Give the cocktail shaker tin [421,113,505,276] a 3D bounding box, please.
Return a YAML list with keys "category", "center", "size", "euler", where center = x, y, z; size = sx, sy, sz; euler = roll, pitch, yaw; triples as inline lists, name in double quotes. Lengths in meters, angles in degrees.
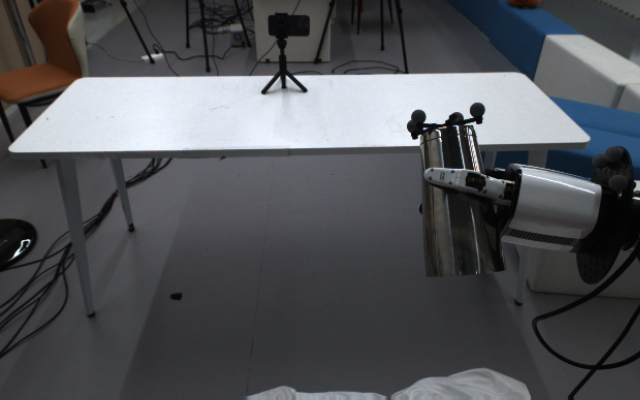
- category: "cocktail shaker tin"
  center: [0.164, 0.002, 0.581]
  size: [0.093, 0.170, 0.093]
  euler: [-6, -7, -1]
